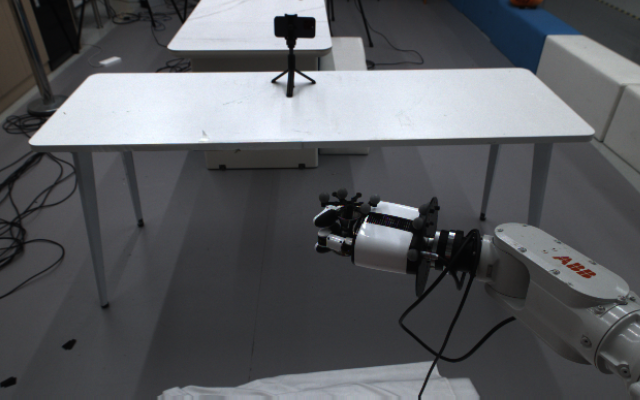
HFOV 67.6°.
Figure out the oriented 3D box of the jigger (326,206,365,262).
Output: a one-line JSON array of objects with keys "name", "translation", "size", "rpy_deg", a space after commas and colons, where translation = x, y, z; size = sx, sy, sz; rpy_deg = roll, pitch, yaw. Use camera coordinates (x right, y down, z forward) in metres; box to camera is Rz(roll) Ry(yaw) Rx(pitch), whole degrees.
[{"name": "jigger", "translation": [0.047, 0.051, 0.791], "size": [0.043, 0.071, 0.043], "rpy_deg": [3, 25, -1]}]
